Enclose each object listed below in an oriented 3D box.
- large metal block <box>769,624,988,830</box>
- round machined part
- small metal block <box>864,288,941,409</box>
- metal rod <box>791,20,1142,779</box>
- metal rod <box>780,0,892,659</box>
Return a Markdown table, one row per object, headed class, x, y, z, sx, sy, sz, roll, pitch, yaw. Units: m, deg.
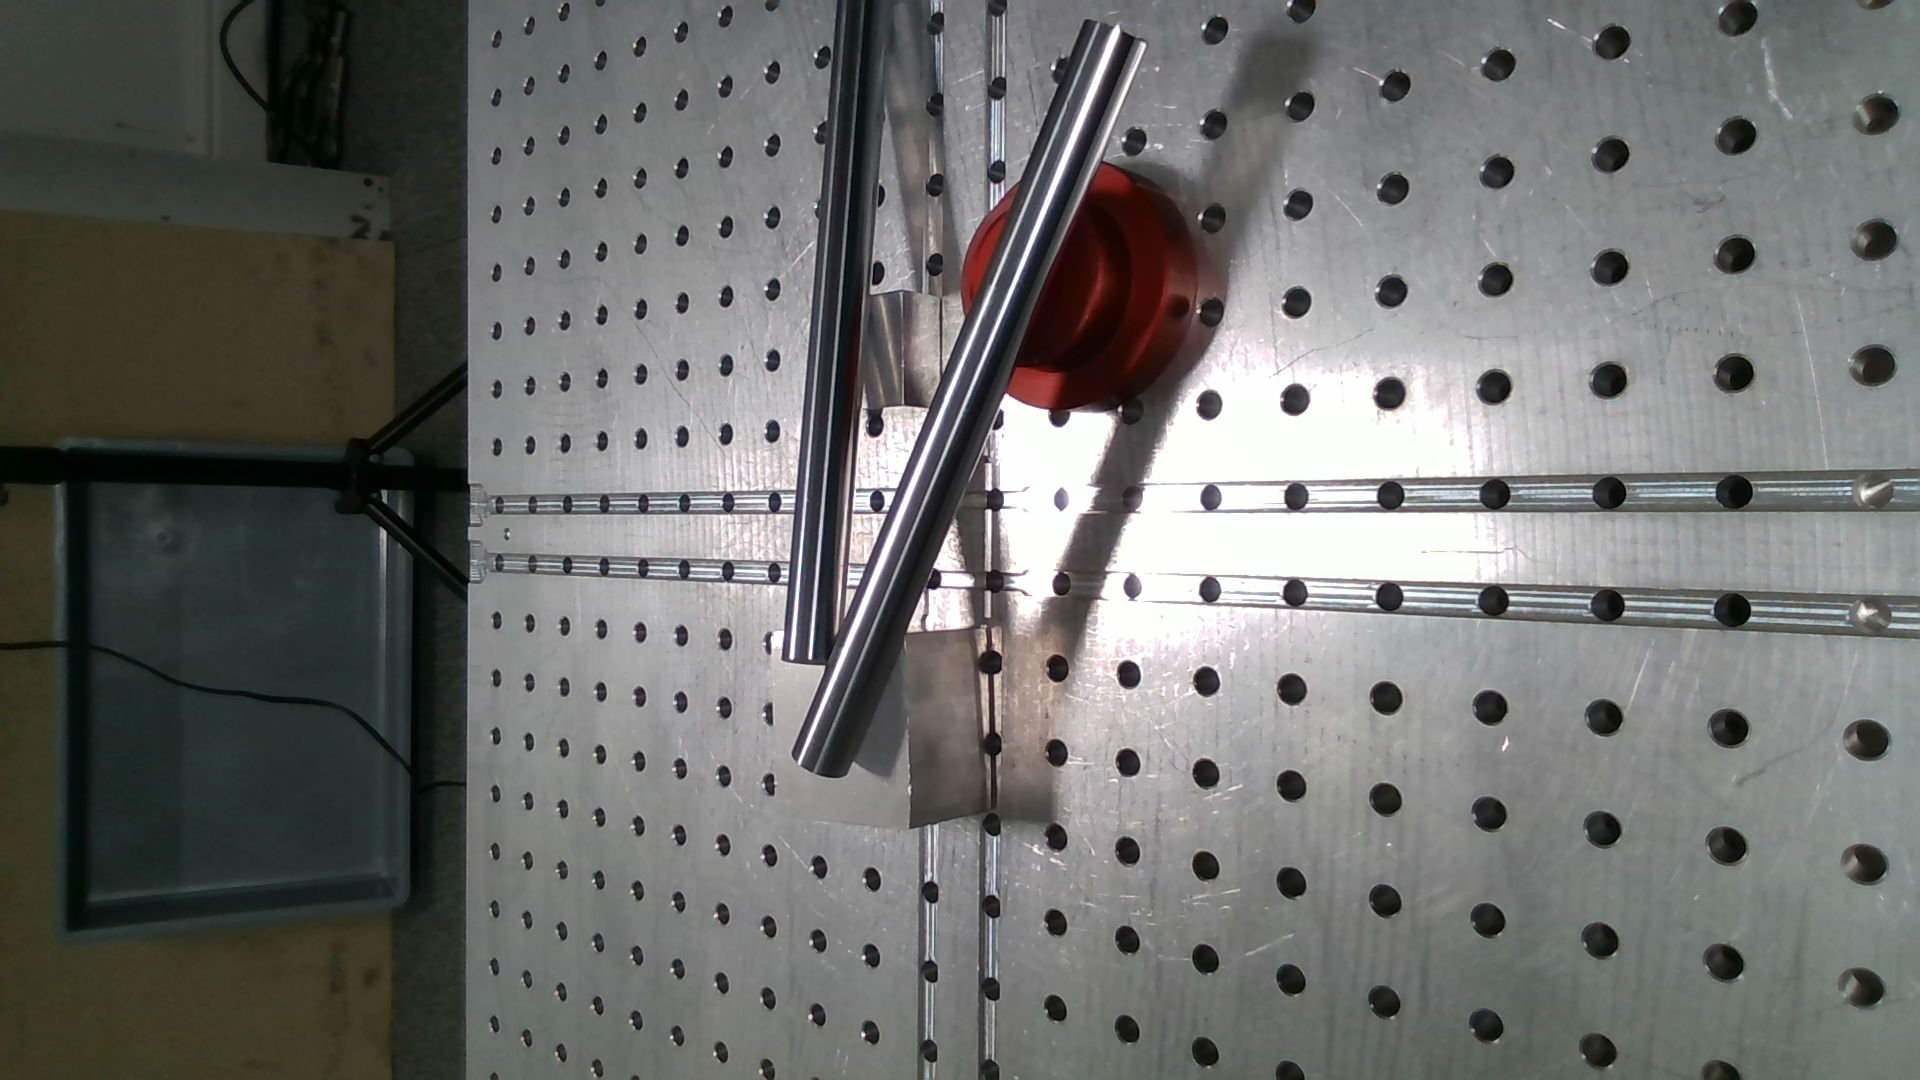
| class | x | y | z | sx | sy | sz | roll | pitch | yaw |
| --- | --- | --- | --- | --- | --- | --- | --- | --- | --- |
| large metal block | -0.036 | 0.078 | 0.596 | 0.080 | 0.050 | 0.080 | -3 | 89 | 40 |
| round machined part | 0.039 | -0.101 | 0.540 | 0.098 | 0.042 | 0.098 | 0 | 91 | 40 |
| small metal block | -0.036 | -0.083 | 0.615 | 0.050 | 0.025 | 0.050 | -1 | 90 | 40 |
| metal rod | -0.002 | -0.044 | 0.523 | 0.025 | 0.025 | 0.300 | 33 | 108 | 35 |
| metal rod | -0.052 | -0.098 | 0.592 | 0.025 | 0.025 | 0.300 | -5 | 77 | 40 |
